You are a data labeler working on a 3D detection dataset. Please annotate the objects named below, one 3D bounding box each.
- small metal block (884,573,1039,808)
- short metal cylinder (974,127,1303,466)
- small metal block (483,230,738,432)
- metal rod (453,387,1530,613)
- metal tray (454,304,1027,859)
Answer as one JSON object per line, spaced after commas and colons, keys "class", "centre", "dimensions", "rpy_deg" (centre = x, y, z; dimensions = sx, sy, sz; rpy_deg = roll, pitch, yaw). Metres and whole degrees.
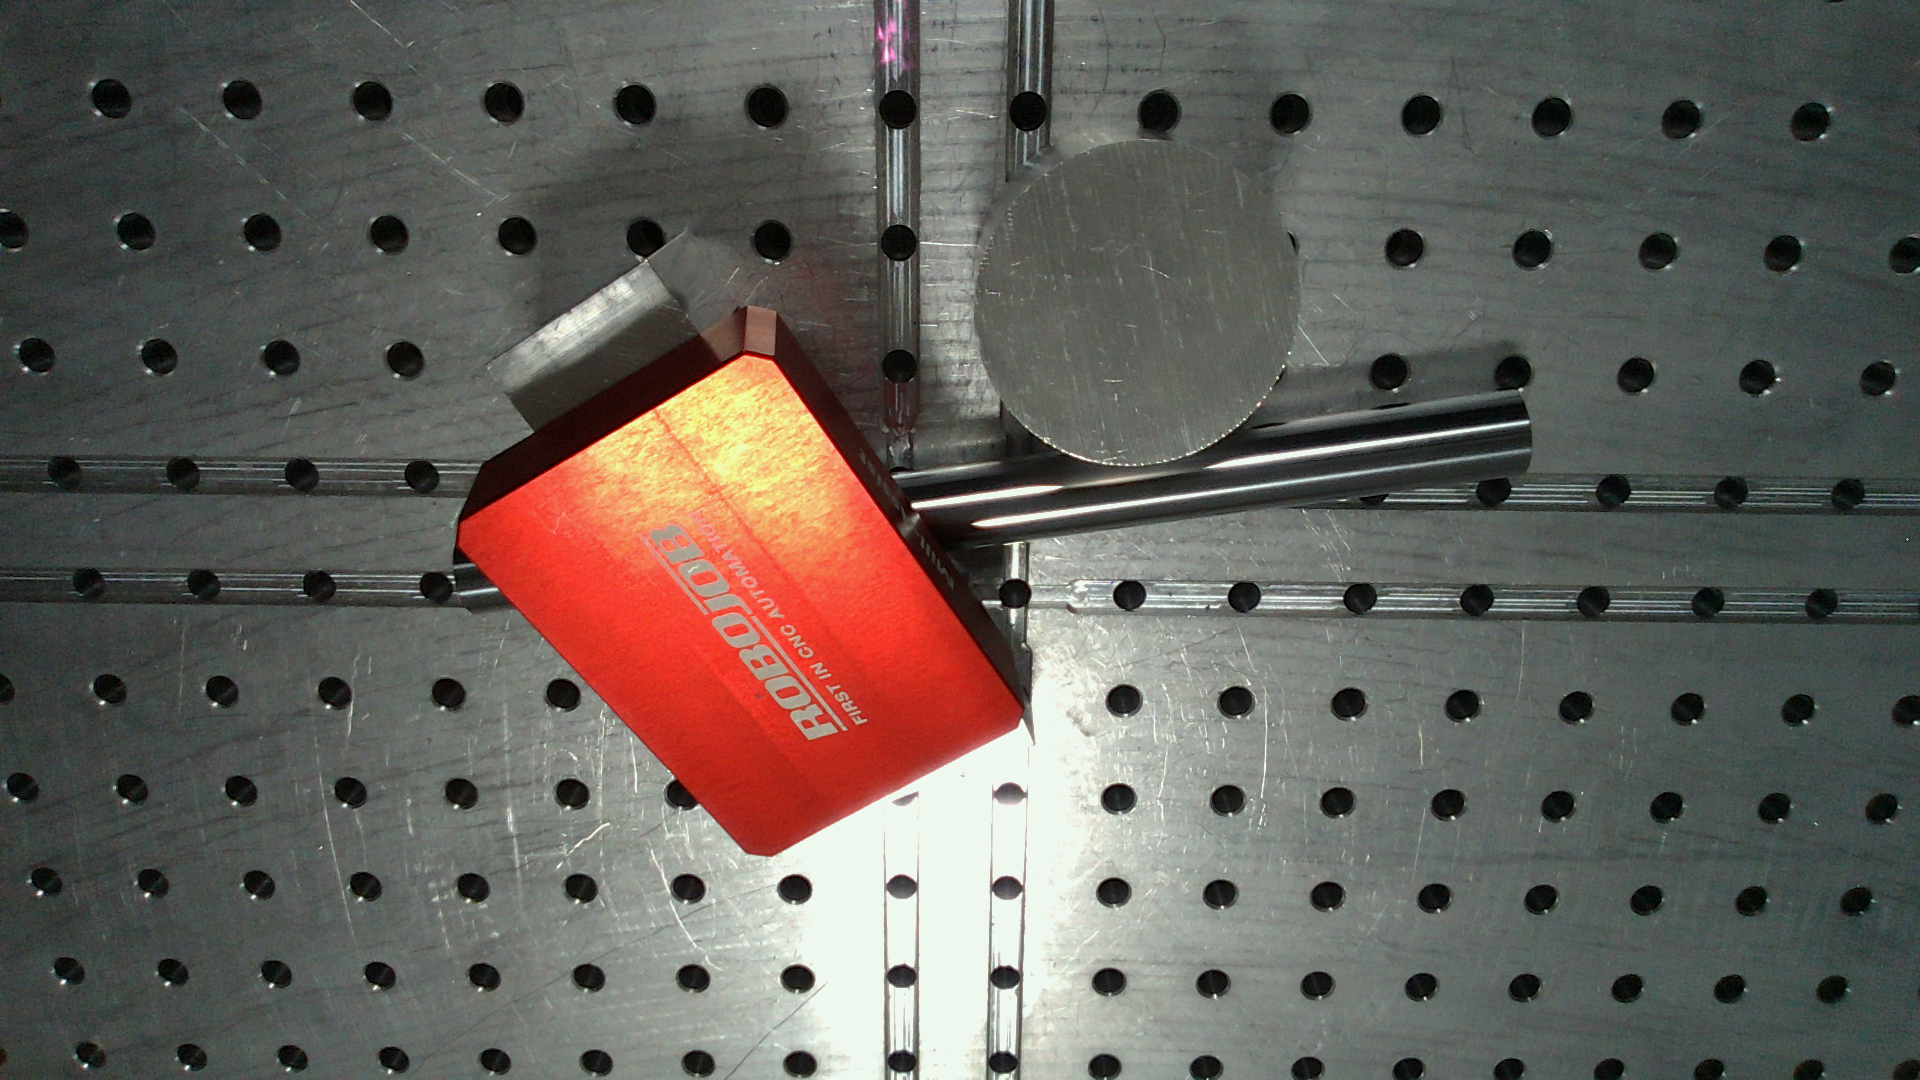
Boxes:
{"class": "small metal block", "centre": [-0.010, 0.045, 0.412], "dimensions": [0.050, 0.025, 0.050], "rpy_deg": [-22, 109, 8]}
{"class": "short metal cylinder", "centre": [0.044, -0.065, 0.359], "dimensions": [0.080, 0.050, 0.080], "rpy_deg": [0, 110, 0]}
{"class": "small metal block", "centre": [-0.090, -0.055, 0.362], "dimensions": [0.050, 0.050, 0.025], "rpy_deg": [-30, 107, 11]}
{"class": "metal rod", "centre": [0.007, -0.011, 0.393], "dimensions": [0.300, 0.025, 0.025], "rpy_deg": [-8, 110, 3]}
{"class": "metal tray", "centre": [-0.052, 0.016, 0.358], "dimensions": [0.090, 0.030, 0.130], "rpy_deg": [-29, 119, 10]}
